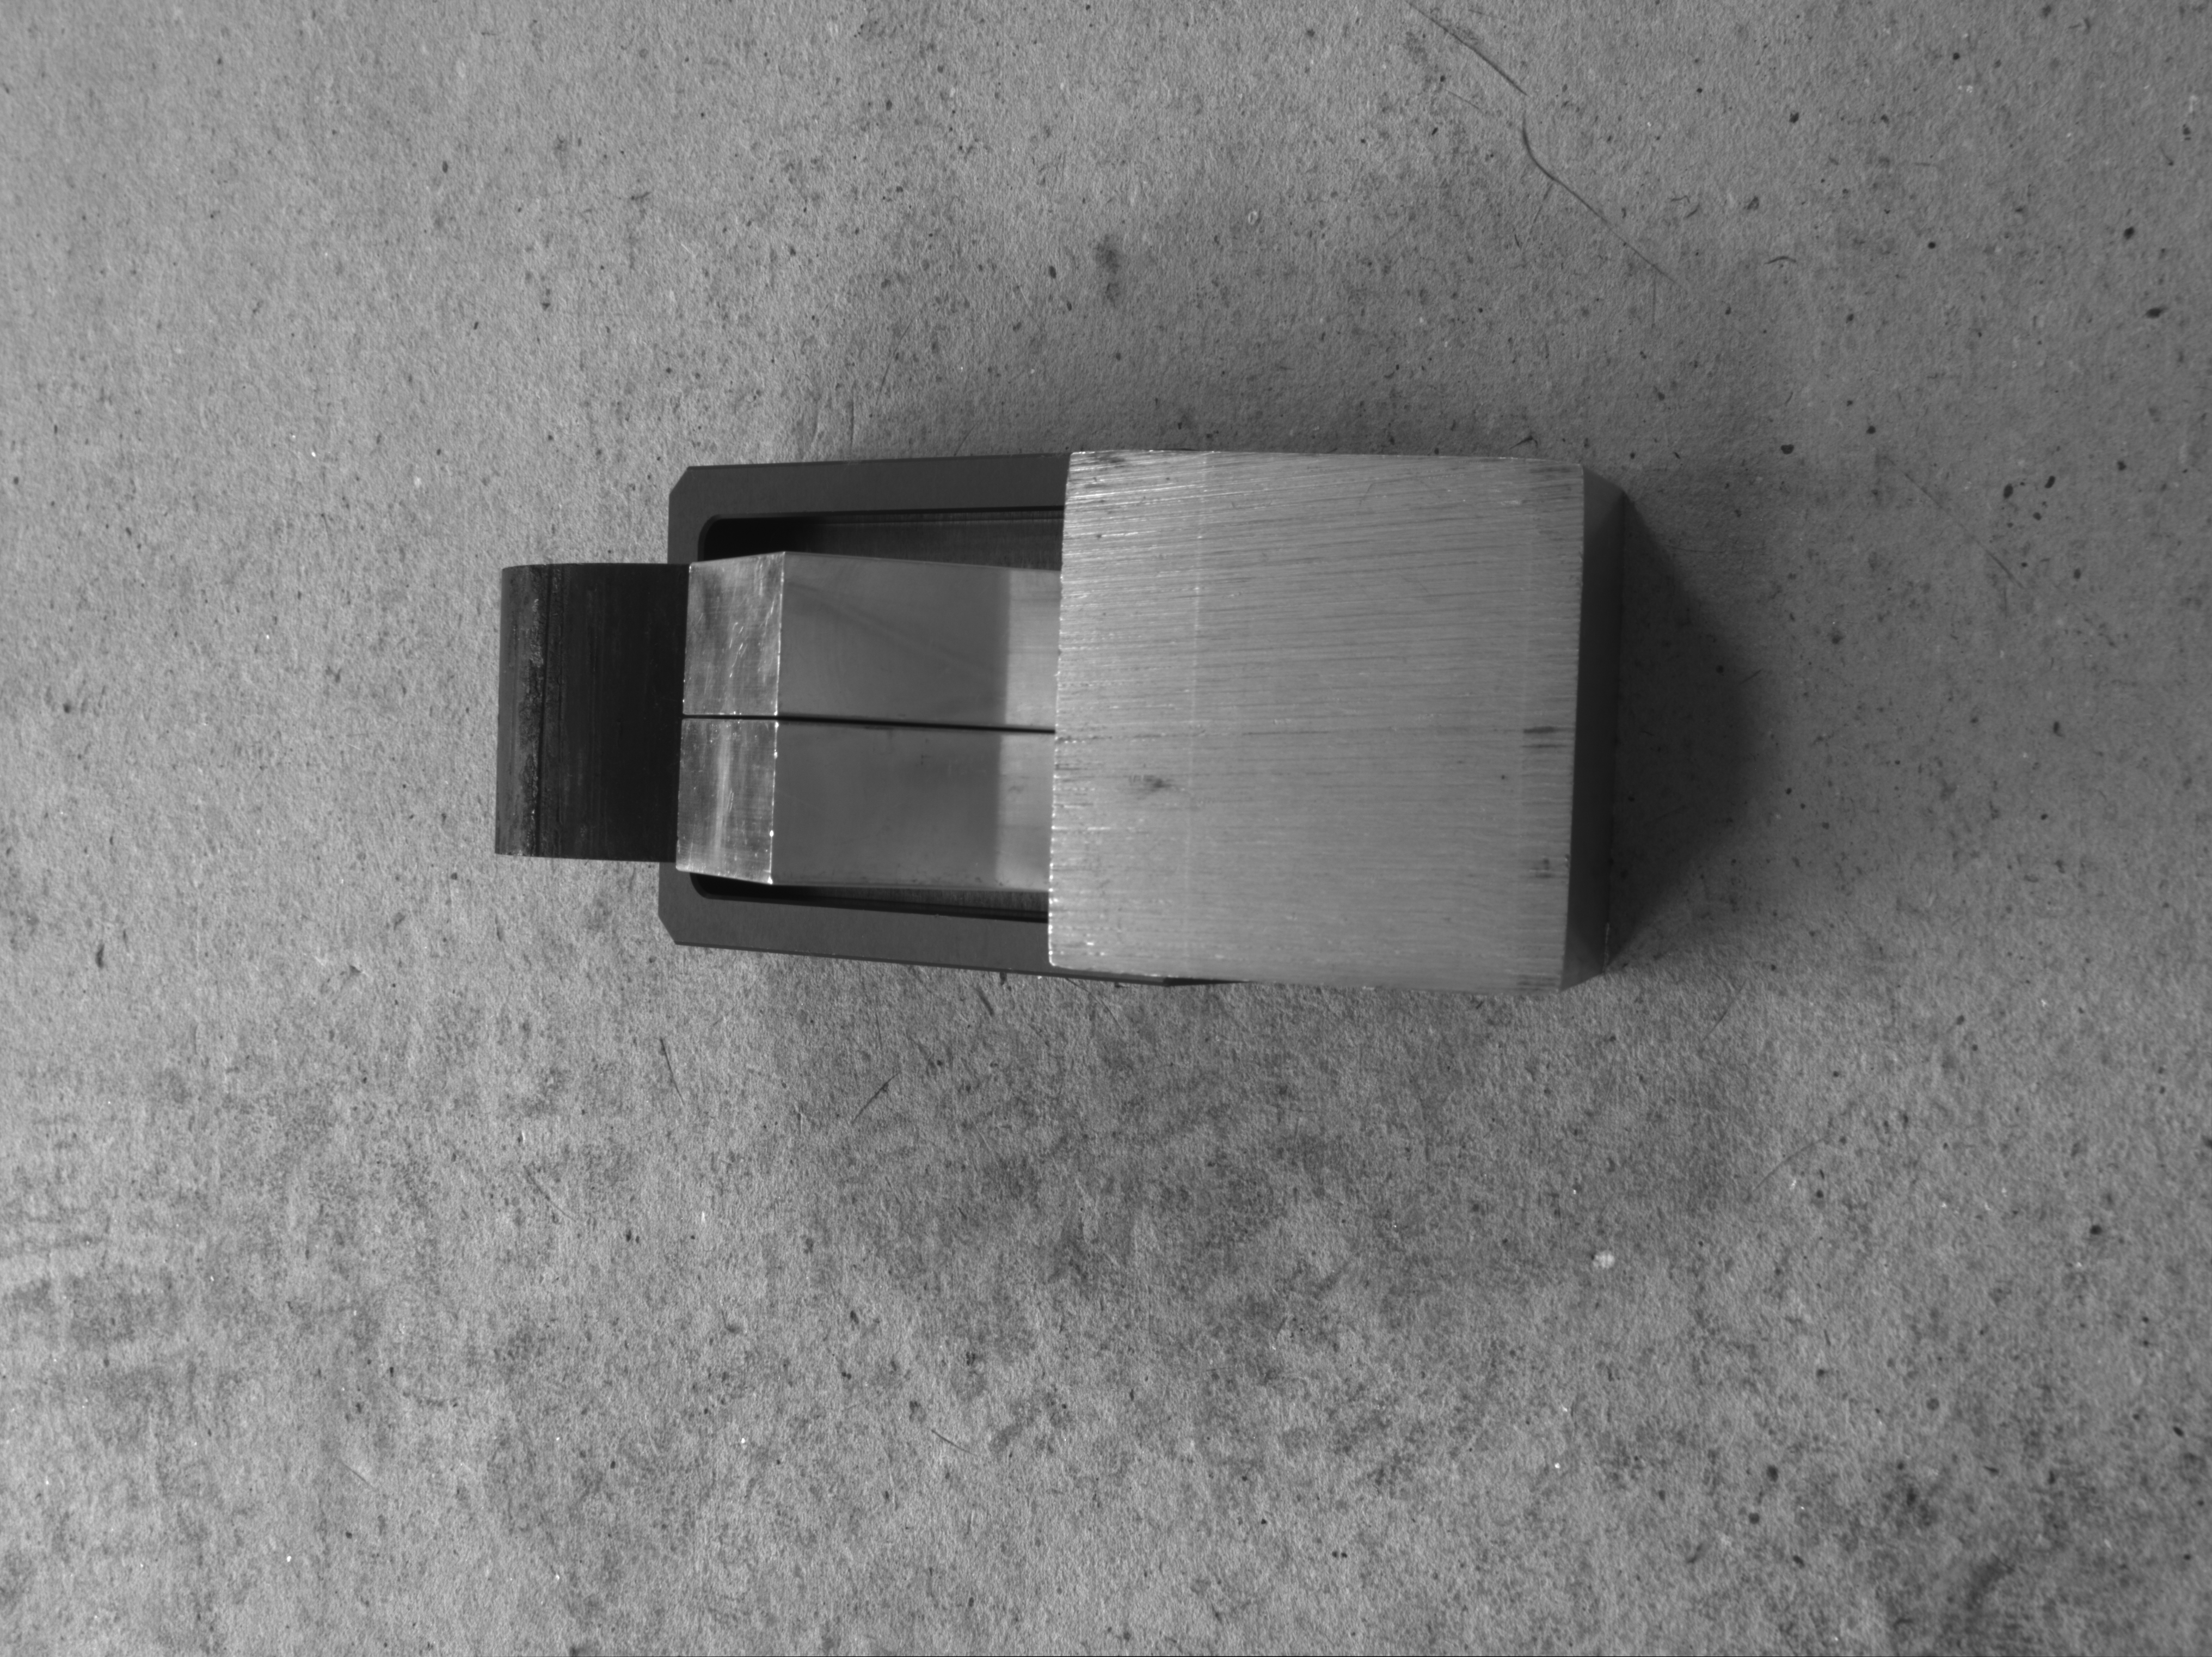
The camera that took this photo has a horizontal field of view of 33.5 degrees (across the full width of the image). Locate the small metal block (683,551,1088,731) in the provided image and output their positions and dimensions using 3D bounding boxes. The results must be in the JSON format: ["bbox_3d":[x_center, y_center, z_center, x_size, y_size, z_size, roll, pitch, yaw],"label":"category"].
[{"bbox_3d":[-0.036,-0.029,0.591,0.050,0.050,0.025,-176,89,-66],"label":"small metal block"}]

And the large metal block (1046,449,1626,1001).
[{"bbox_3d":[0.037,-0.017,0.579,0.080,0.050,0.080,3,92,14],"label":"large metal block"}]

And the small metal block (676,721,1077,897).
[{"bbox_3d":[-0.037,-0.003,0.592,0.050,0.050,0.025,-176,89,-66],"label":"small metal block"}]

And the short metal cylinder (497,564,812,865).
[{"bbox_3d":[-0.067,-0.019,0.649,0.080,0.080,0.050,1,91,40],"label":"short metal cylinder"}]

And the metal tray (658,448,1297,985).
[{"bbox_3d":[-0.025,-0.021,0.663,0.130,0.030,0.090,3,92,40],"label":"metal tray"}]
